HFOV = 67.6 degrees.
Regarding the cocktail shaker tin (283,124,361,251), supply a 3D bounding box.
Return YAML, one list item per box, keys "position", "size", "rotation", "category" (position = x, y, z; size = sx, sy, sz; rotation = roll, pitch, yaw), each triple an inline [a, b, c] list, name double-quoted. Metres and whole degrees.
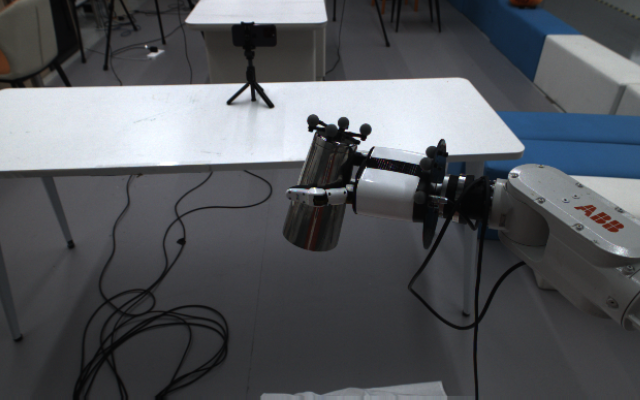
- position: [0.006, -0.019, 0.743]
  size: [0.093, 0.170, 0.093]
  rotation: [12, 24, -5]
  category: "cocktail shaker tin"
